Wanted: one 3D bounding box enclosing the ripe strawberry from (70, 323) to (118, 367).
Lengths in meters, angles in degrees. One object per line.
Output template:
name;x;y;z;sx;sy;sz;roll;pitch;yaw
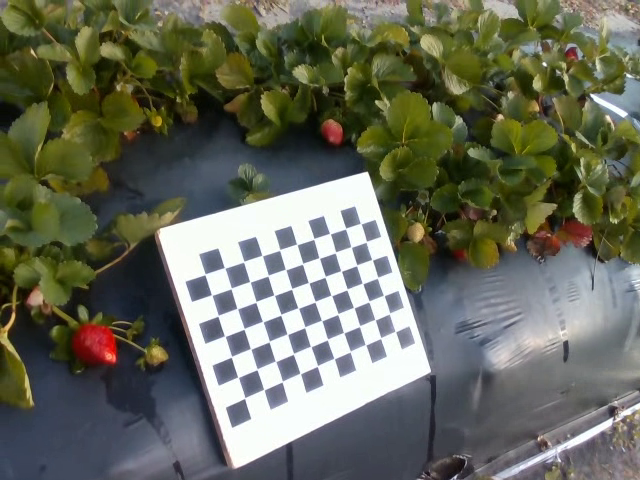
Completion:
ripe strawberry;-0.224;0.111;0.610;0.057;0.052;0.043;23;61;44
